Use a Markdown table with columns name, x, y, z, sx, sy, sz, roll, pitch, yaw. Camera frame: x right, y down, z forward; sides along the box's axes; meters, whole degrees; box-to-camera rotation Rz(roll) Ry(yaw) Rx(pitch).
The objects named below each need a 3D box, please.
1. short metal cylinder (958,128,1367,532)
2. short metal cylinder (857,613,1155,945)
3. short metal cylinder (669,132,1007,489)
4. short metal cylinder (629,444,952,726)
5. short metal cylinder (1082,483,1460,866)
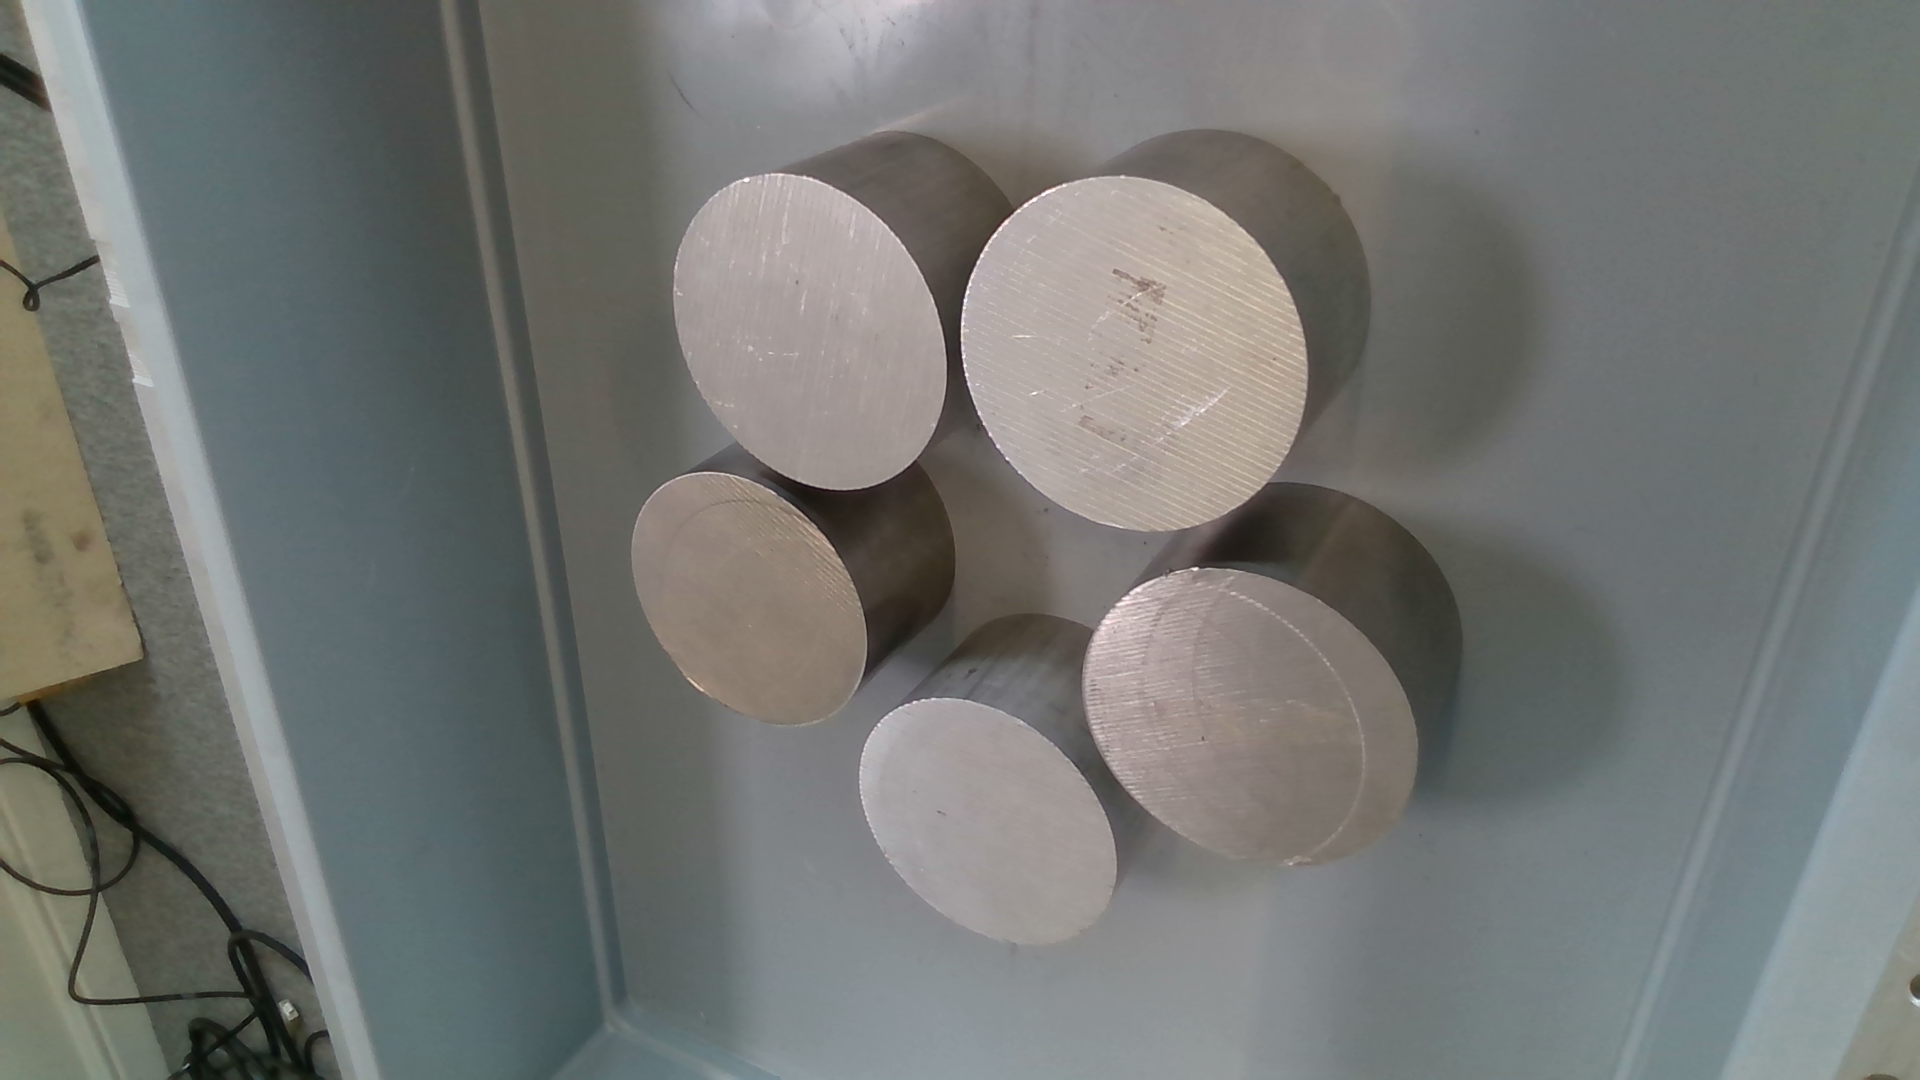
| name | x | y | z | sx | sy | sz | roll | pitch | yaw |
| --- | --- | --- | --- | --- | --- | --- | --- | --- | --- |
| short metal cylinder | 0.047 | -0.049 | 0.315 | 0.080 | 0.050 | 0.080 | 15 | 122 | 25 |
| short metal cylinder | 0.018 | 0.068 | 0.397 | 0.080 | 0.050 | 0.080 | 15 | 122 | 25 |
| short metal cylinder | -0.027 | -0.060 | 0.355 | 0.080 | 0.050 | 0.080 | 15 | 122 | 25 |
| short metal cylinder | -0.049 | 0.007 | 0.405 | 0.080 | 0.050 | 0.080 | 15 | 122 | 25 |
| short metal cylinder | 0.077 | 0.032 | 0.341 | 0.080 | 0.050 | 0.080 | 15 | 122 | 25 |
